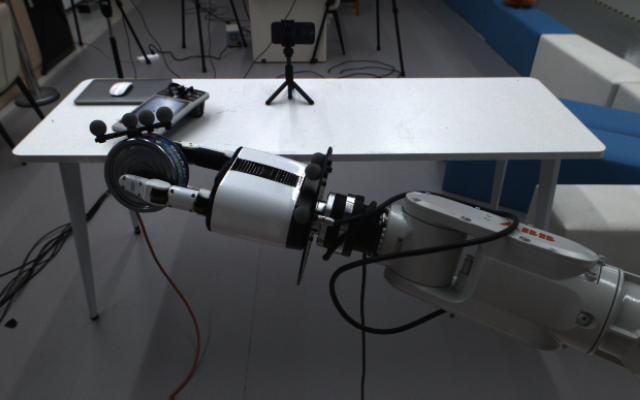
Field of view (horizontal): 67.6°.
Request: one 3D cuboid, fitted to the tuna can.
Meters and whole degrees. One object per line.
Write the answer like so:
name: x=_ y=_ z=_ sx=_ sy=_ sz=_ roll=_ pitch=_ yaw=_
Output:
tuna can: x=-0.189 y=-0.024 z=0.536 sx=0.085 sy=0.085 sz=0.034 roll=6 pitch=18 yaw=5
